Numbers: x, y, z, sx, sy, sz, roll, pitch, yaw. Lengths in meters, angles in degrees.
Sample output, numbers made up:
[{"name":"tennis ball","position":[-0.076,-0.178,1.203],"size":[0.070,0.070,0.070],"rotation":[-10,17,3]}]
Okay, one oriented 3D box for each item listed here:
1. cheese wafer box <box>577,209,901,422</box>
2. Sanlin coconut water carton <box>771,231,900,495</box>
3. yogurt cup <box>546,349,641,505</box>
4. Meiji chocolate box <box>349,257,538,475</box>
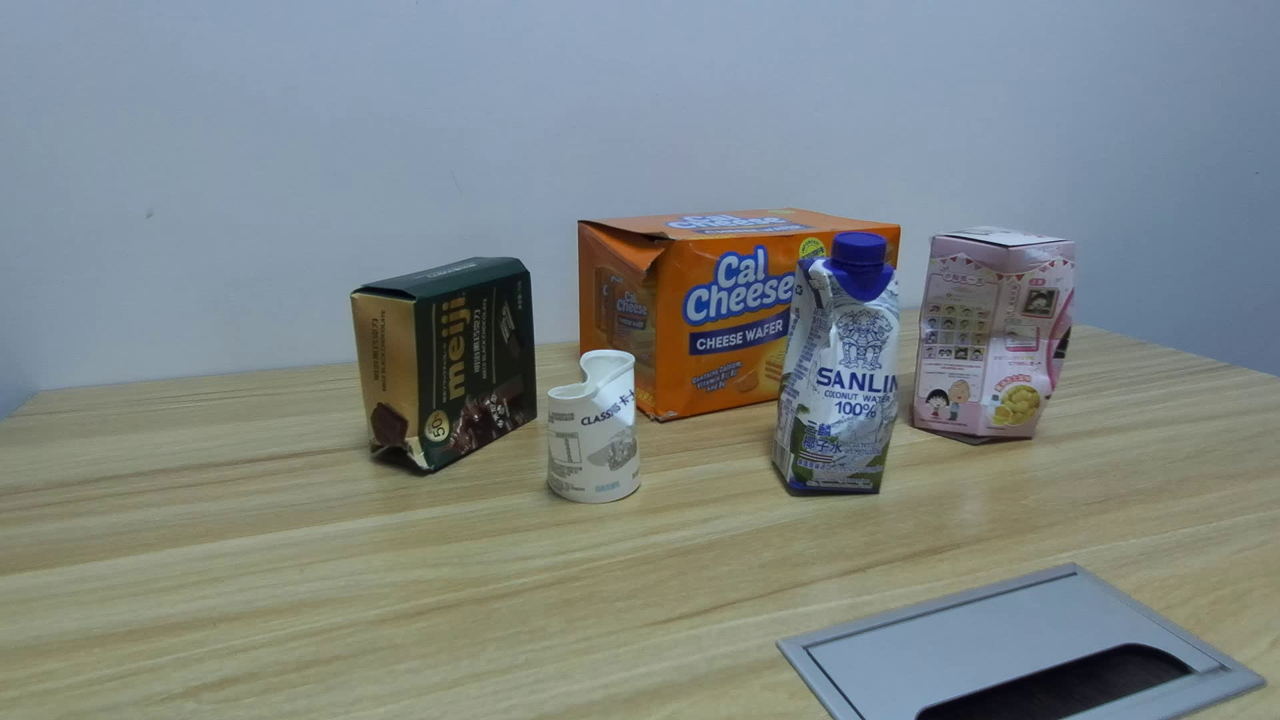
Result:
[{"name":"cheese wafer box","position":[0.075,-0.050,0.575],"size":[0.228,0.137,0.149],"rotation":[-8,20,-26]},{"name":"Sanlin coconut water carton","position":[0.116,0.001,0.406],"size":[0.057,0.144,0.068],"rotation":[5,9,-8]},{"name":"yogurt cup","position":[-0.028,0.037,0.400],"size":[0.054,0.071,0.075],"rotation":[-3,20,-12]},{"name":"Meiji chocolate box","position":[-0.122,-0.002,0.460],"size":[0.058,0.116,0.123],"rotation":[11,20,27]}]
